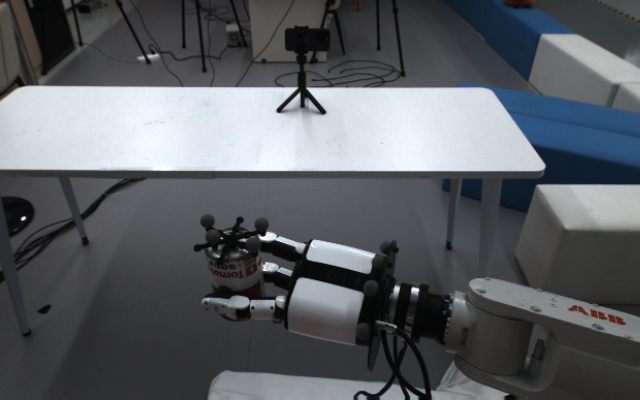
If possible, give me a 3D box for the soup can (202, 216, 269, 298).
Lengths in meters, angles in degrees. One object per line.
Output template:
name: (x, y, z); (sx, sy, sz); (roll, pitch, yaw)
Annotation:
soup can: (-0.103, 0.094, 0.614); (0.067, 0.101, 0.067); (-2, 33, 1)
